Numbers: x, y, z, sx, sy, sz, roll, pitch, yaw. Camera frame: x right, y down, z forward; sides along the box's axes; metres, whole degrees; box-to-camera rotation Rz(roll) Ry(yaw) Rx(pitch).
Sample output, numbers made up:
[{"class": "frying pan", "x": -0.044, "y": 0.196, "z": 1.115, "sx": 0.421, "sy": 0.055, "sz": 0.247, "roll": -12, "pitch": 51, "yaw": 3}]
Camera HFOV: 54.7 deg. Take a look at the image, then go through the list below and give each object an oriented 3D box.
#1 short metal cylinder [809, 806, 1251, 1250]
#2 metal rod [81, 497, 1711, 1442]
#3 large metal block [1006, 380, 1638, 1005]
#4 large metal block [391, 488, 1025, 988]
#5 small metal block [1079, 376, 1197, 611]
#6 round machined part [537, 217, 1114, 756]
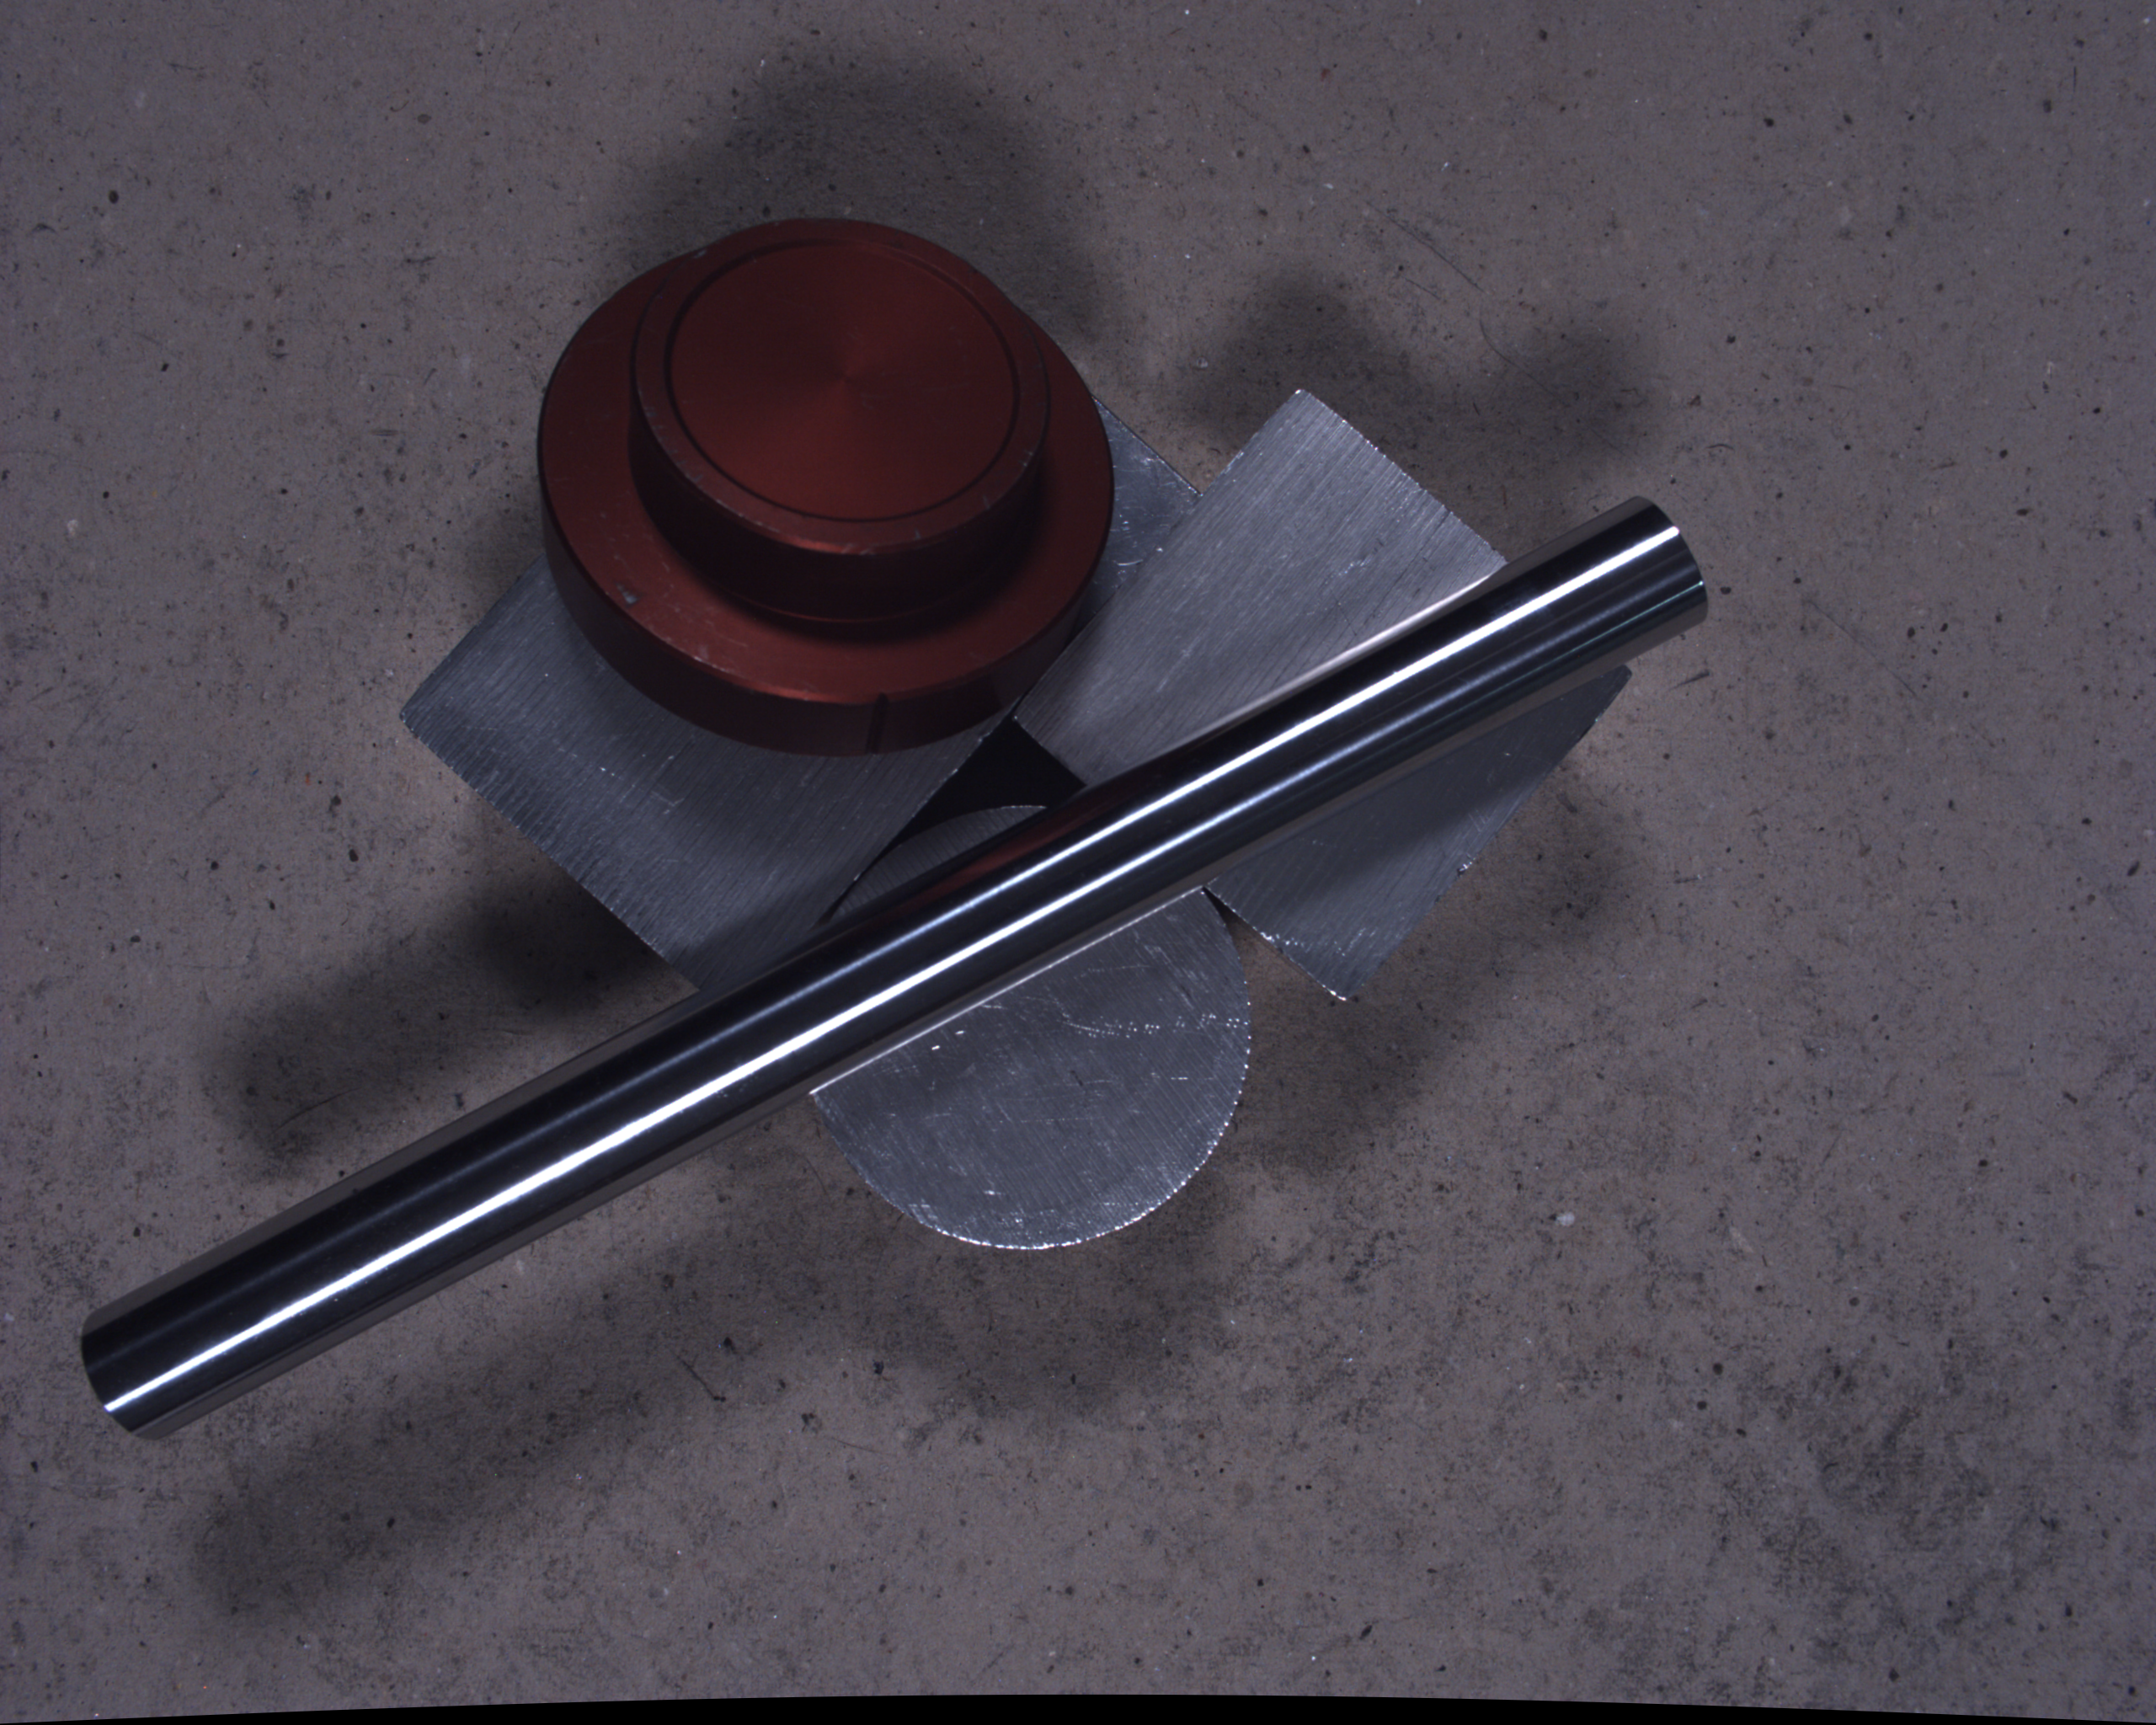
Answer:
[{"class": "short metal cylinder", "x": -0.009, "y": 0.029, "z": 0.398, "sx": 0.081, "sy": 0.050, "sz": 0.079, "roll": 0, "pitch": 90, "yaw": -1}, {"class": "metal rod", "x": -0.030, "y": 0.018, "z": 0.361, "sx": 0.301, "sy": 0.025, "sz": 0.025, "roll": -28, "pitch": 90, "yaw": 0}, {"class": "large metal block", "x": 0.044, "y": -0.031, "z": 0.399, "sx": 0.080, "sy": 0.050, "sz": 0.080, "roll": 41, "pitch": 90, "yaw": -1}, {"class": "large metal block", "x": -0.066, "y": -0.029, "z": 0.397, "sx": 0.080, "sy": 0.050, "sz": 0.080, "roll": 42, "pitch": 90, "yaw": -1}, {"class": "small metal block", "x": -0.011, "y": -0.069, "z": 0.410, "sx": 0.050, "sy": 0.025, "sz": 0.050, "roll": 43, "pitch": 90, "yaw": -1}, {"class": "round machined part", "x": -0.042, "y": -0.071, "z": 0.358, "sx": 0.099, "sy": 0.042, "sz": 0.098, "roll": 5, "pitch": 64, "yaw": -10}]
